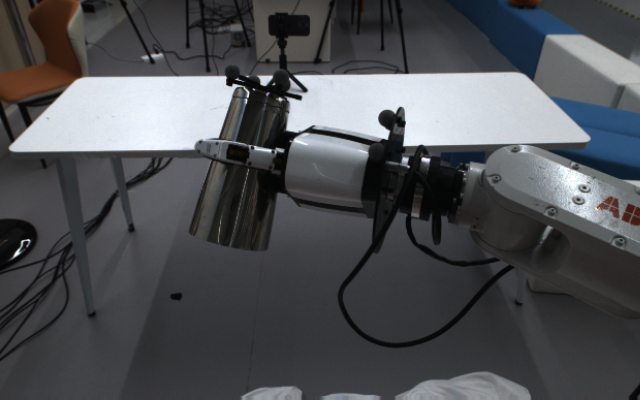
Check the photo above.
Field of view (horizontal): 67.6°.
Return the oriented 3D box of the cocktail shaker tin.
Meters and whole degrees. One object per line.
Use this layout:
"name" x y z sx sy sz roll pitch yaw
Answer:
"cocktail shaker tin" -0.085 -0.036 0.555 0.093 0.170 0.093 13 2 0
